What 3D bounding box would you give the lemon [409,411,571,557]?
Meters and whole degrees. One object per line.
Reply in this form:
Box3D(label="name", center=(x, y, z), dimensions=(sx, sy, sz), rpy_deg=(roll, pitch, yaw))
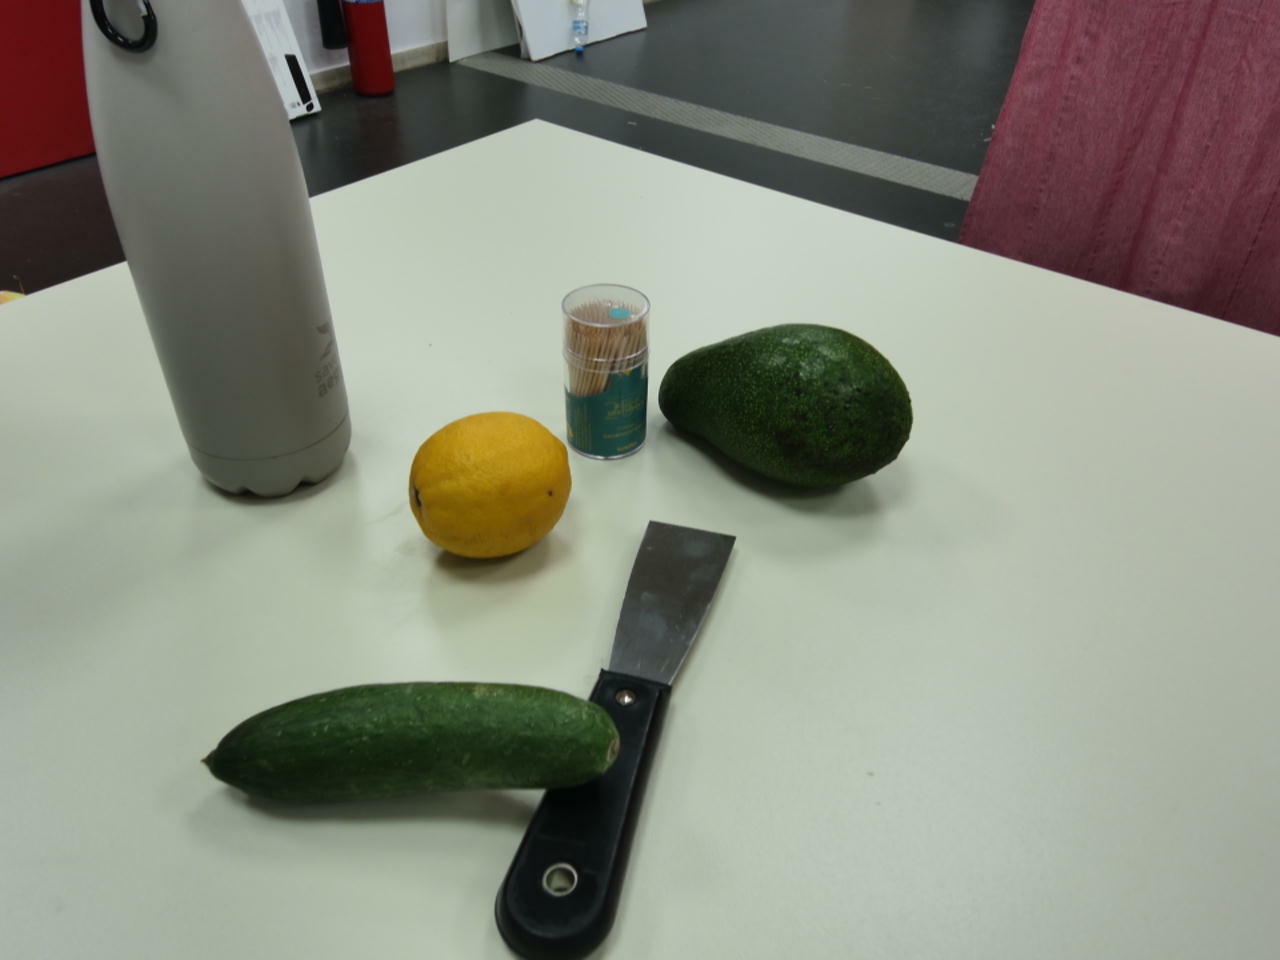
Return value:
Box3D(label="lemon", center=(-0.062, 0.002, 0.414), dimensions=(0.067, 0.059, 0.060), rpy_deg=(-5, 36, -9))
